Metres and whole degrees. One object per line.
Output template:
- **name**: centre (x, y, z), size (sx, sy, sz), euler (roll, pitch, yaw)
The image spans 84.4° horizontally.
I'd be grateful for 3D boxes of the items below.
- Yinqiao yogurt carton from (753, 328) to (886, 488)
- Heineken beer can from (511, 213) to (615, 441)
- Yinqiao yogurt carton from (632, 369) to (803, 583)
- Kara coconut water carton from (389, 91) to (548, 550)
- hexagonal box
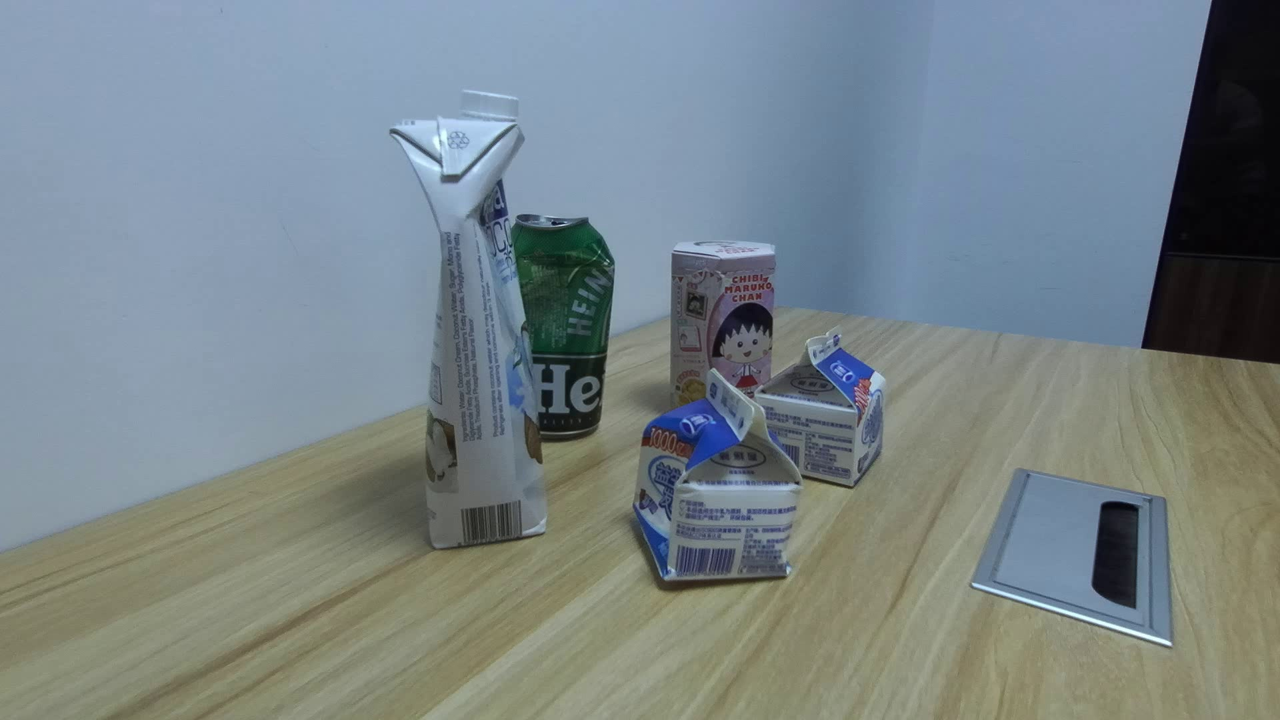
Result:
- **Yinqiao yogurt carton**: centre (0.124, 0.025, 0.481), size (0.073, 0.092, 0.076), euler (8, 16, 31)
- **Heineken beer can**: centre (-0.066, -0.024, 0.533), size (0.066, 0.164, 0.077), euler (-15, 24, -40)
- **Yinqiao yogurt carton**: centre (0.041, 0.058, 0.369), size (0.071, 0.094, 0.077), euler (2, 15, -13)
- **Kara coconut water carton**: centre (-0.091, -0.021, 0.390), size (0.069, 0.238, 0.115), euler (-4, 16, -13)
- **hexagonal box**: centre (0.066, -0.023, 0.563), size (0.091, 0.136, 0.083), euler (-7, 18, -21)
